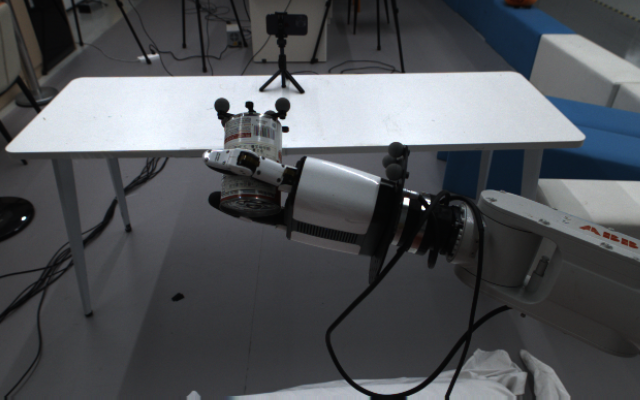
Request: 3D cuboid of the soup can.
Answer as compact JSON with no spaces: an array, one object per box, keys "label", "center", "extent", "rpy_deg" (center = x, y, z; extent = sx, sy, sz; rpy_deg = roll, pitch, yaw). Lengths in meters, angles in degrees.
[{"label":"soup can","center":[-0.075,-0.038,0.544],"extent":[0.067,0.067,0.101],"rpy_deg":[1,72,-2]}]
